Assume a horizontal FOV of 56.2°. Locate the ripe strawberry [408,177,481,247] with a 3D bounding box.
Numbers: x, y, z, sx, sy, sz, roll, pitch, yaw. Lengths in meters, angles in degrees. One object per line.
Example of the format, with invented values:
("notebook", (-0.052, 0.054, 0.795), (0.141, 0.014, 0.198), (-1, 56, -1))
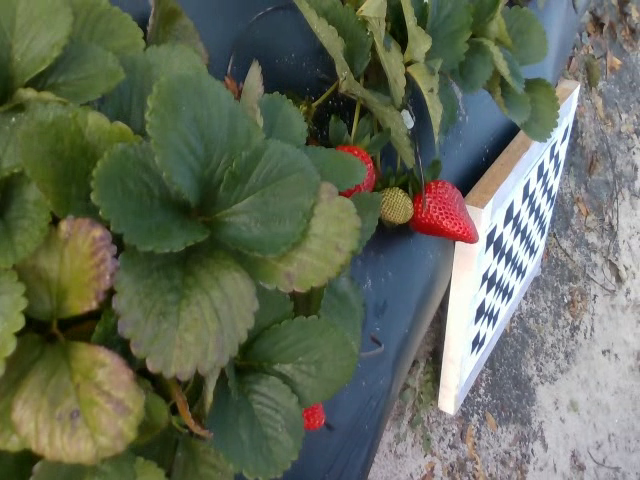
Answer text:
("ripe strawberry", (0.044, -0.006, 0.194), (0.022, 0.030, 0.025), (-33, -31, -11))
